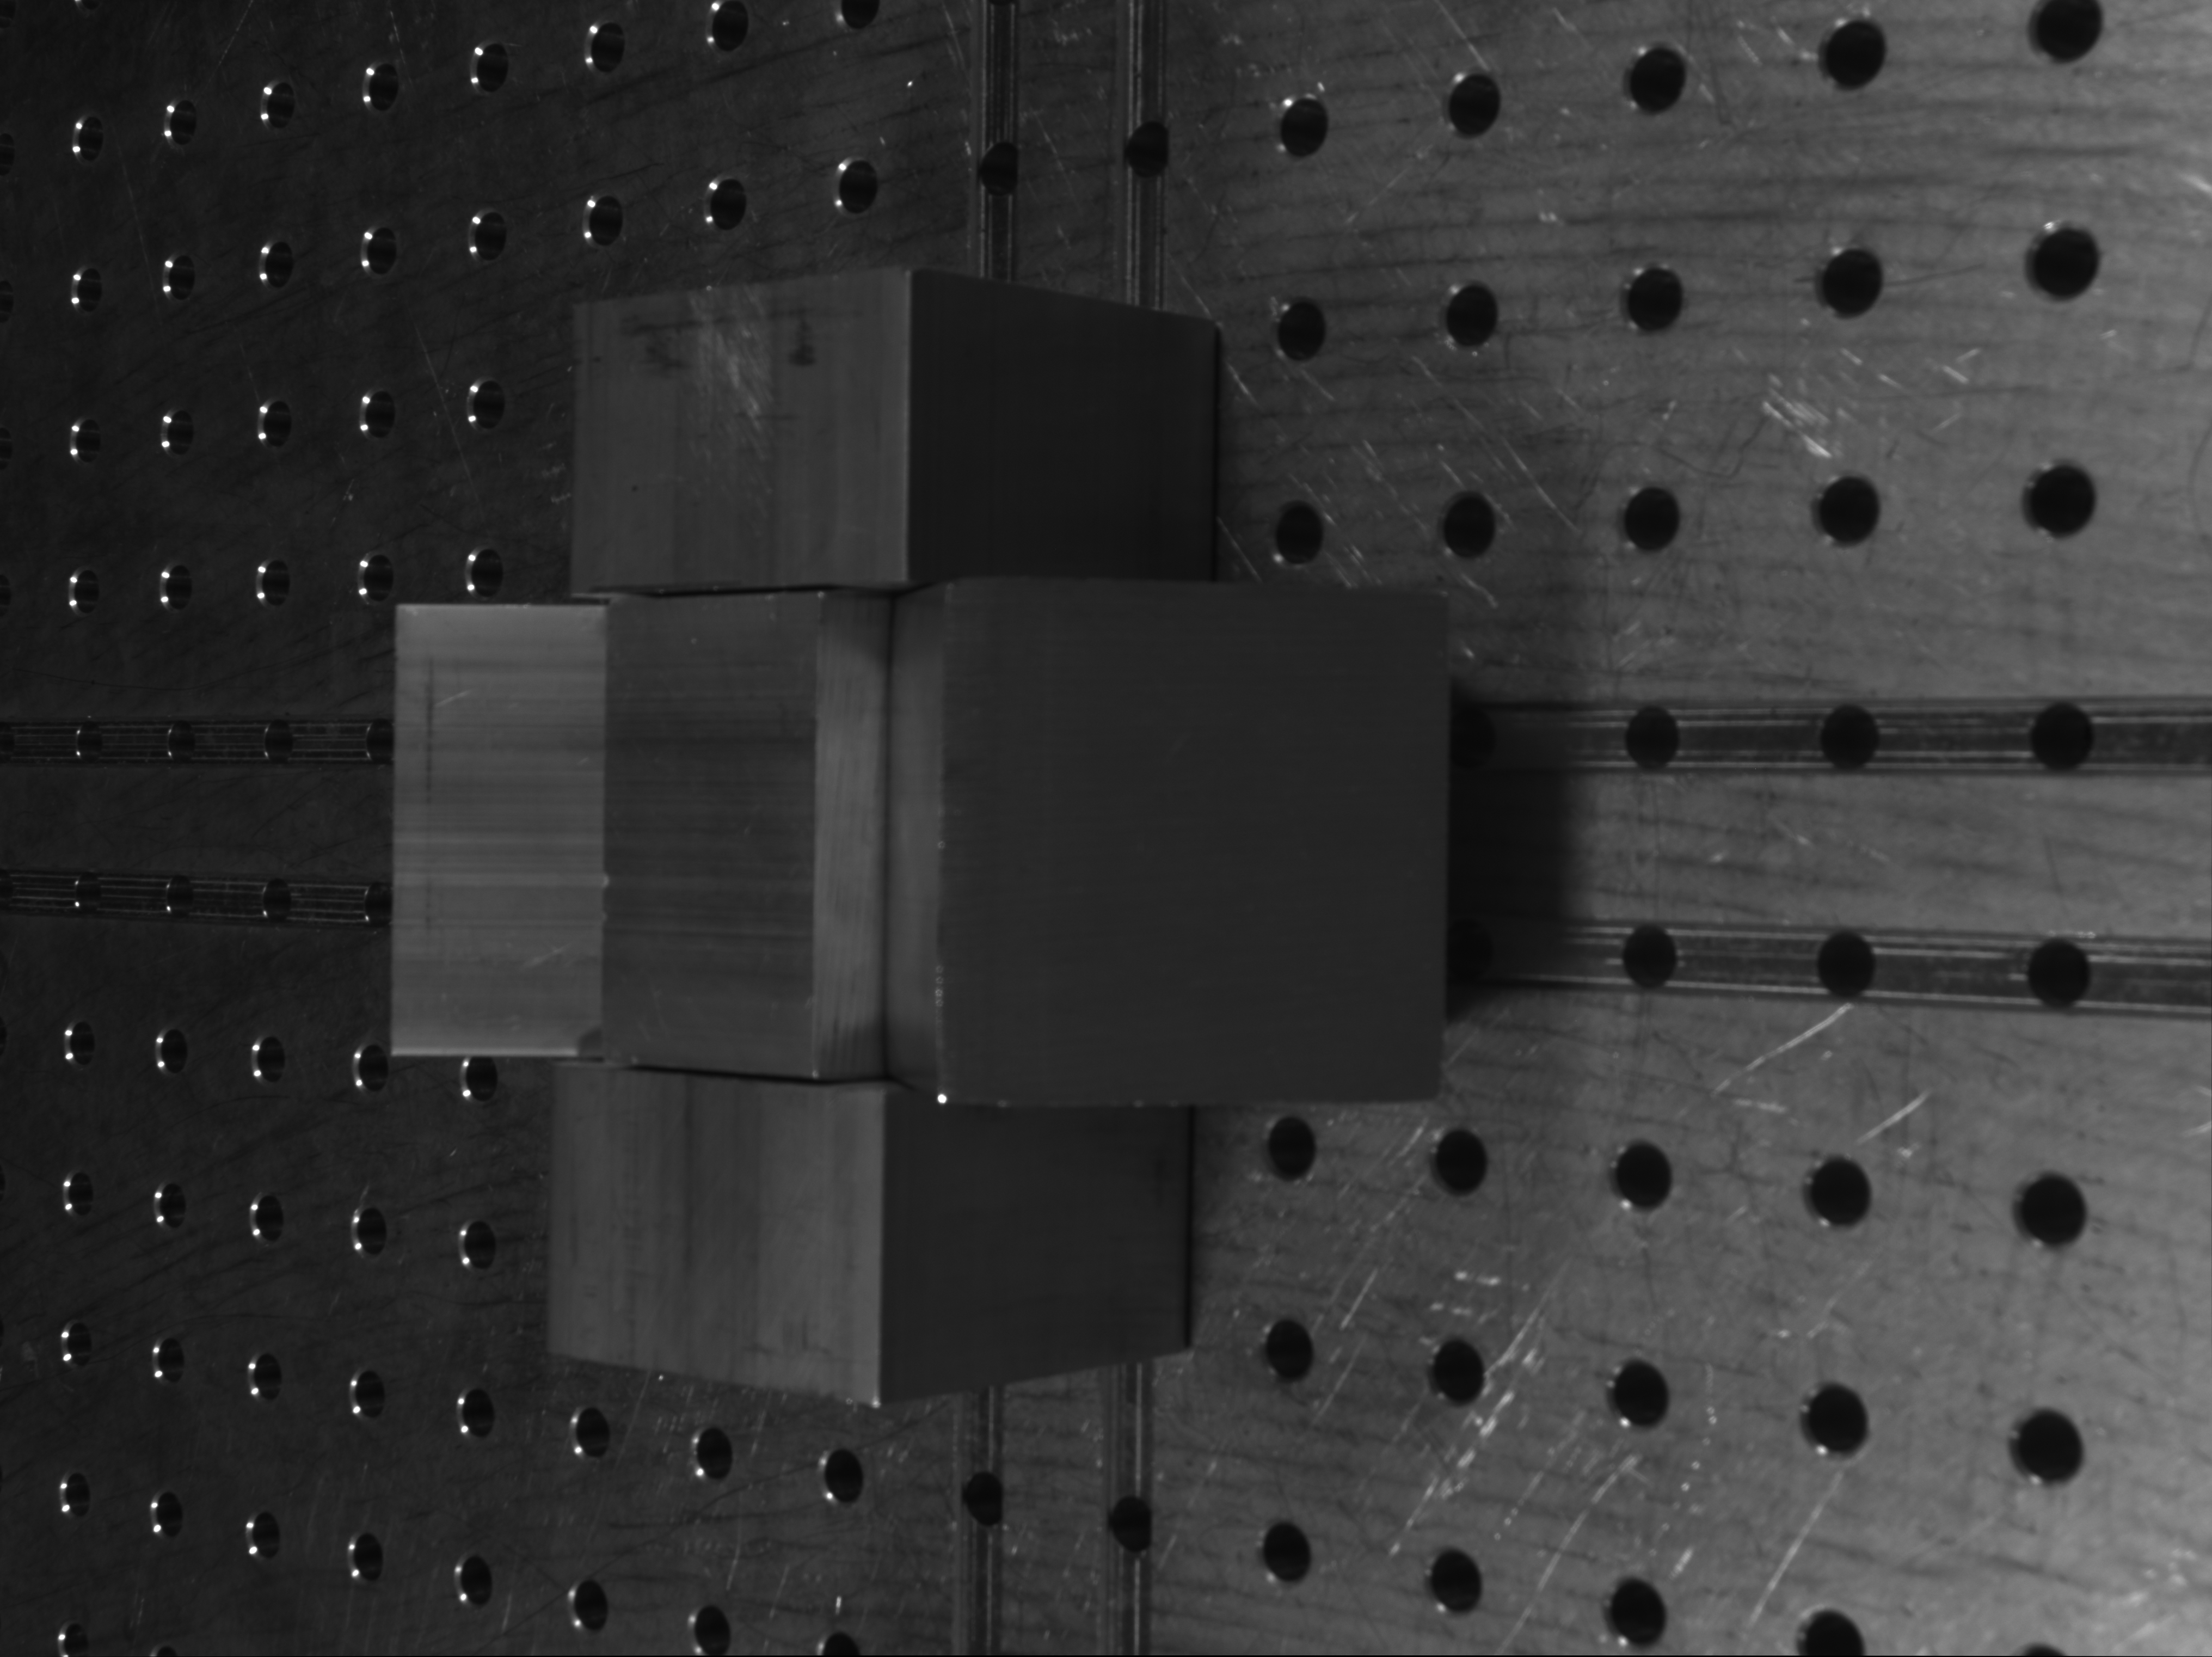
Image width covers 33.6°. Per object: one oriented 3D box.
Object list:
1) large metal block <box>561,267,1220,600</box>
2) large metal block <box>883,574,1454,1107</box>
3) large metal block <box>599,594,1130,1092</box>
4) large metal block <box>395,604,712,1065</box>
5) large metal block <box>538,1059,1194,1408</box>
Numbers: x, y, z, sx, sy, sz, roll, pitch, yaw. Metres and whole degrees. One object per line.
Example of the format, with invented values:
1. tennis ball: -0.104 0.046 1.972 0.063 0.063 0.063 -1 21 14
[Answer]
1. large metal block: -0.037 -0.064 0.633 0.080 0.080 0.050 1 91 39
2. large metal block: 0.009 0.002 0.585 0.050 0.080 0.080 -178 90 -77
3. large metal block: -0.041 0.002 0.636 0.050 0.080 0.080 1 91 39
4. large metal block: -0.098 0.001 0.676 0.050 0.080 0.080 0 91 0
5. large metal block: -0.041 0.066 0.636 0.080 0.080 0.050 1 91 39
